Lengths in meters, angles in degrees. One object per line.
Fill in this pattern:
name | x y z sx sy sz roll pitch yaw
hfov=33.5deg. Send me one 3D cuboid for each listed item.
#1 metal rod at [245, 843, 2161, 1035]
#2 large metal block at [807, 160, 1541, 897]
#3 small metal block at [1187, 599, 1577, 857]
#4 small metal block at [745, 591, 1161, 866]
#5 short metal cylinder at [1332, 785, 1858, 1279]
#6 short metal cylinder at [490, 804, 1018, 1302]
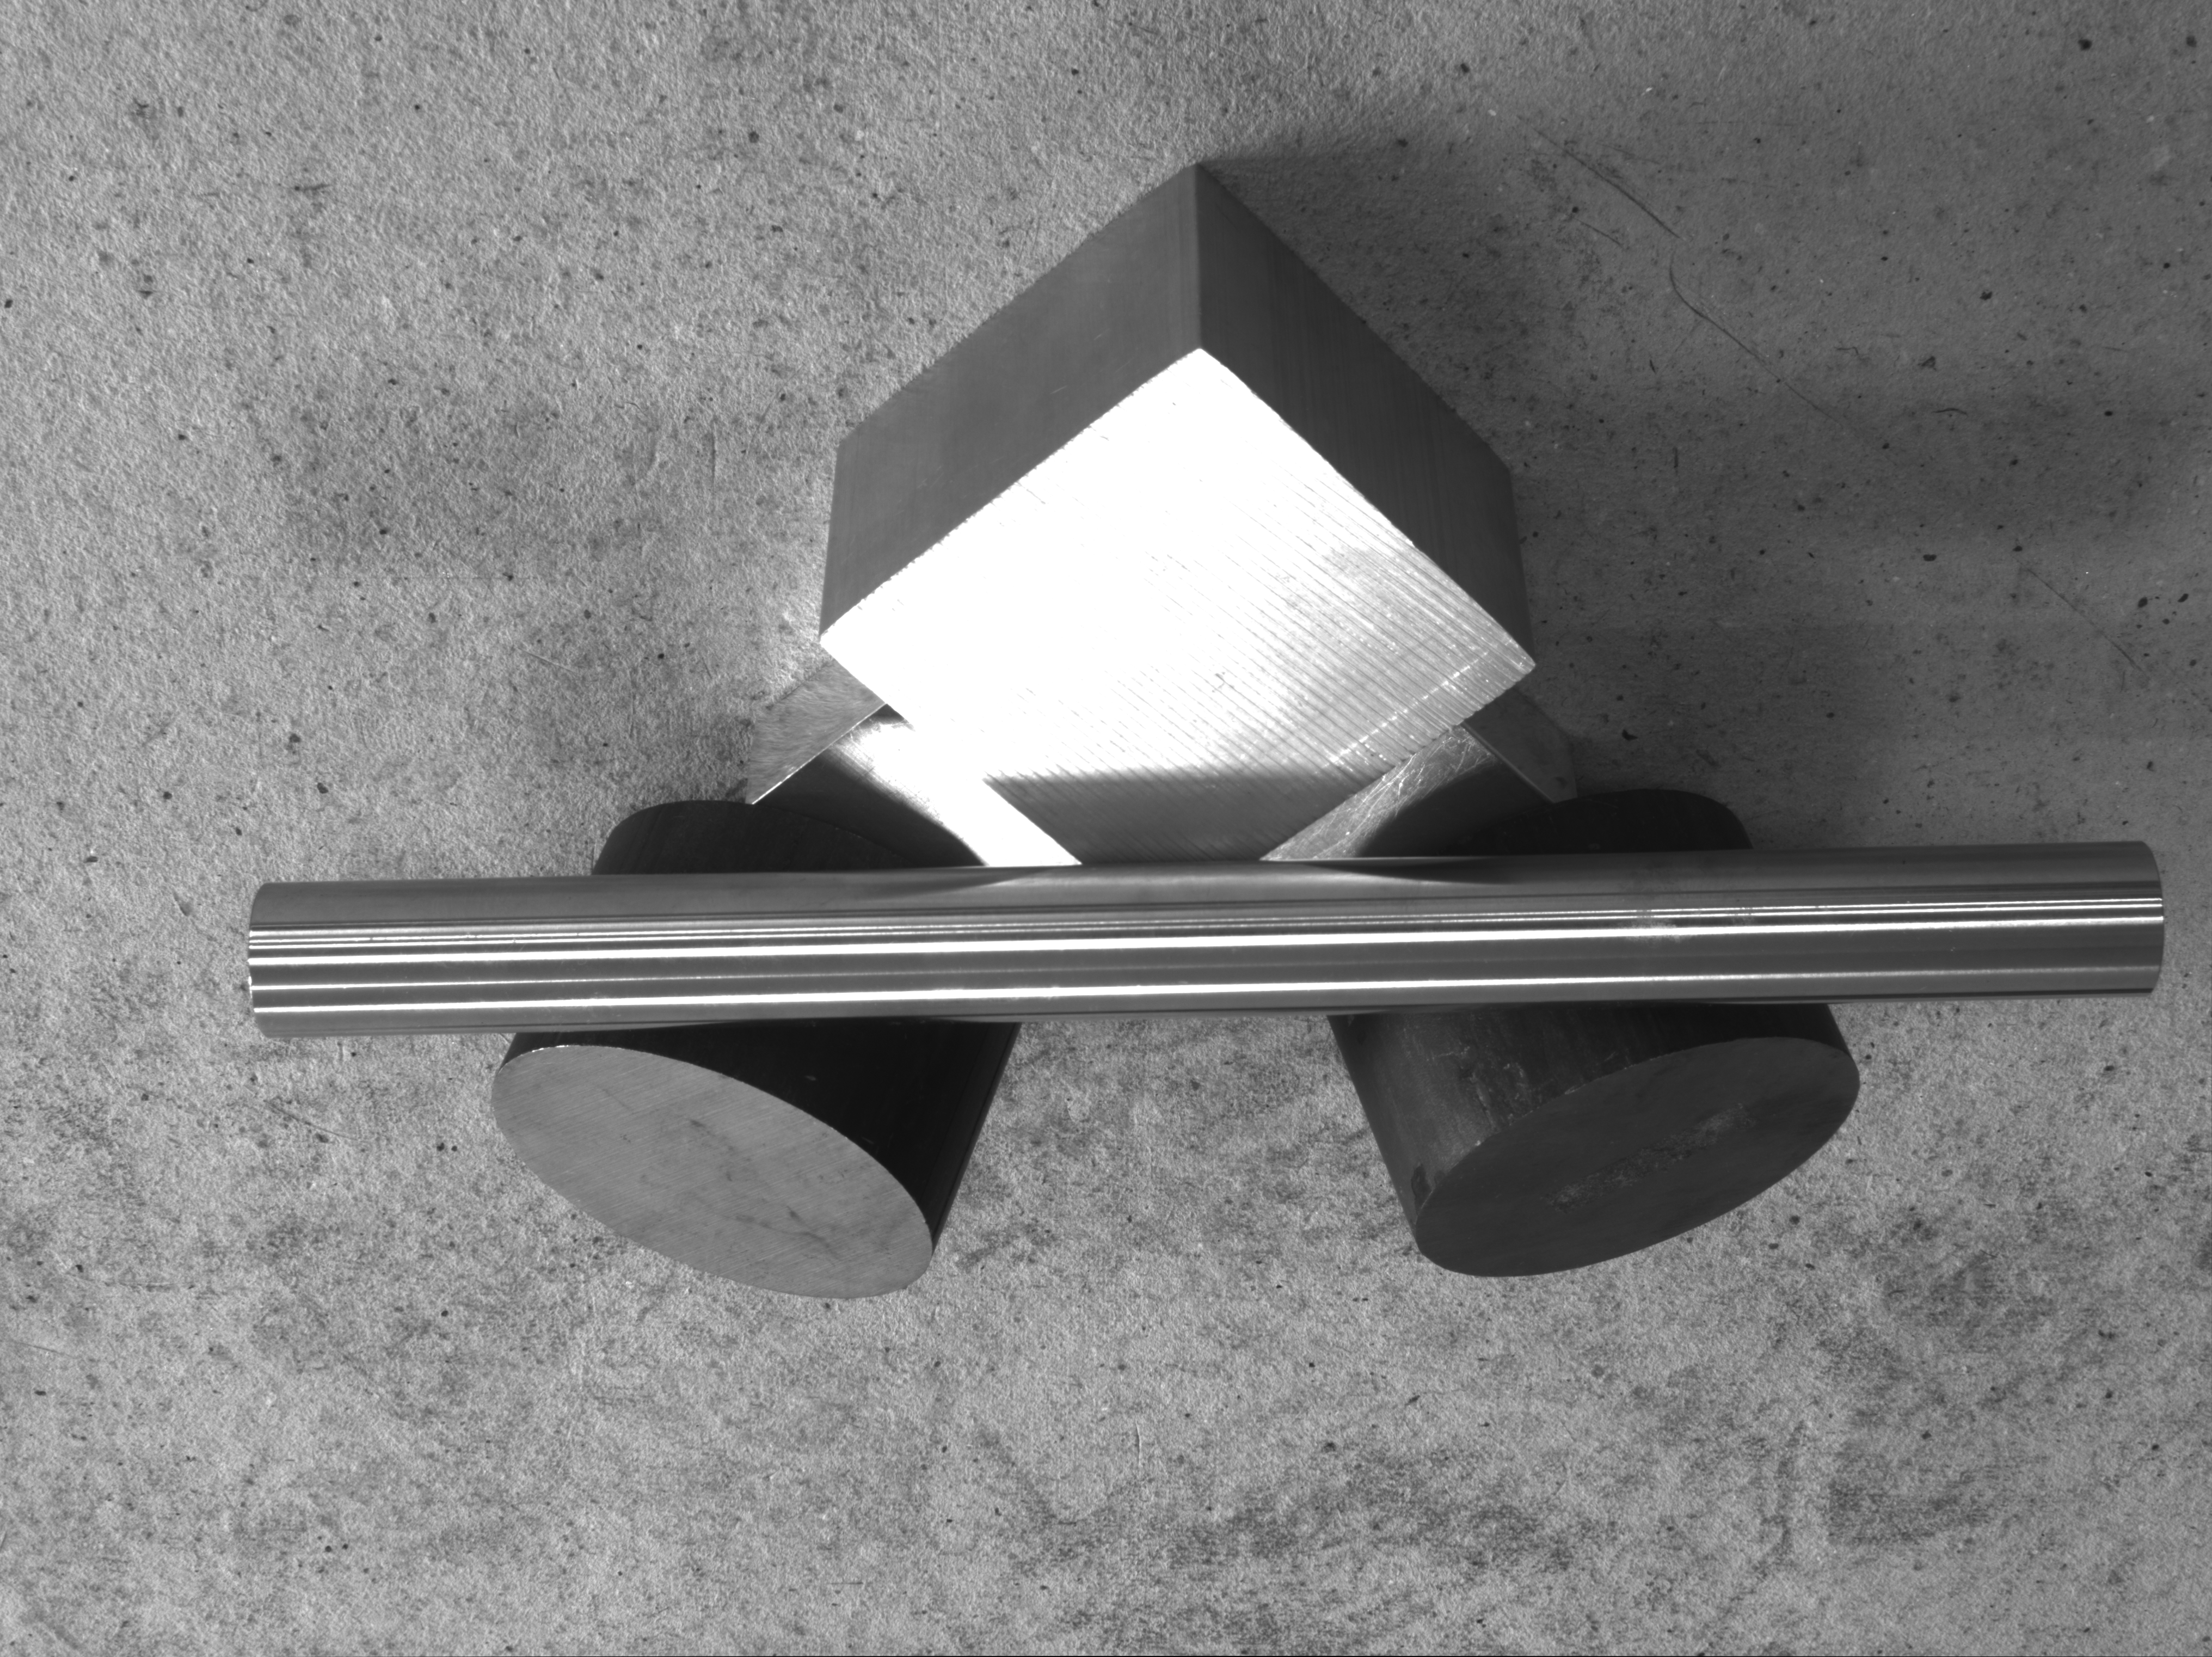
metal rod | 0.015 0.018 0.587 0.300 0.025 0.025 -1 130 1
large metal block | 0.011 -0.044 0.584 0.080 0.050 0.080 -35 122 26
small metal block | 0.046 -0.008 0.633 0.050 0.025 0.050 -36 121 26
small metal block | -0.026 -0.010 0.632 0.050 0.025 0.050 -37 121 25
short metal cylinder | 0.083 0.036 0.636 0.080 0.050 0.080 -15 150 -9
short metal cylinder | -0.060 0.040 0.638 0.080 0.050 0.080 15 149 10
